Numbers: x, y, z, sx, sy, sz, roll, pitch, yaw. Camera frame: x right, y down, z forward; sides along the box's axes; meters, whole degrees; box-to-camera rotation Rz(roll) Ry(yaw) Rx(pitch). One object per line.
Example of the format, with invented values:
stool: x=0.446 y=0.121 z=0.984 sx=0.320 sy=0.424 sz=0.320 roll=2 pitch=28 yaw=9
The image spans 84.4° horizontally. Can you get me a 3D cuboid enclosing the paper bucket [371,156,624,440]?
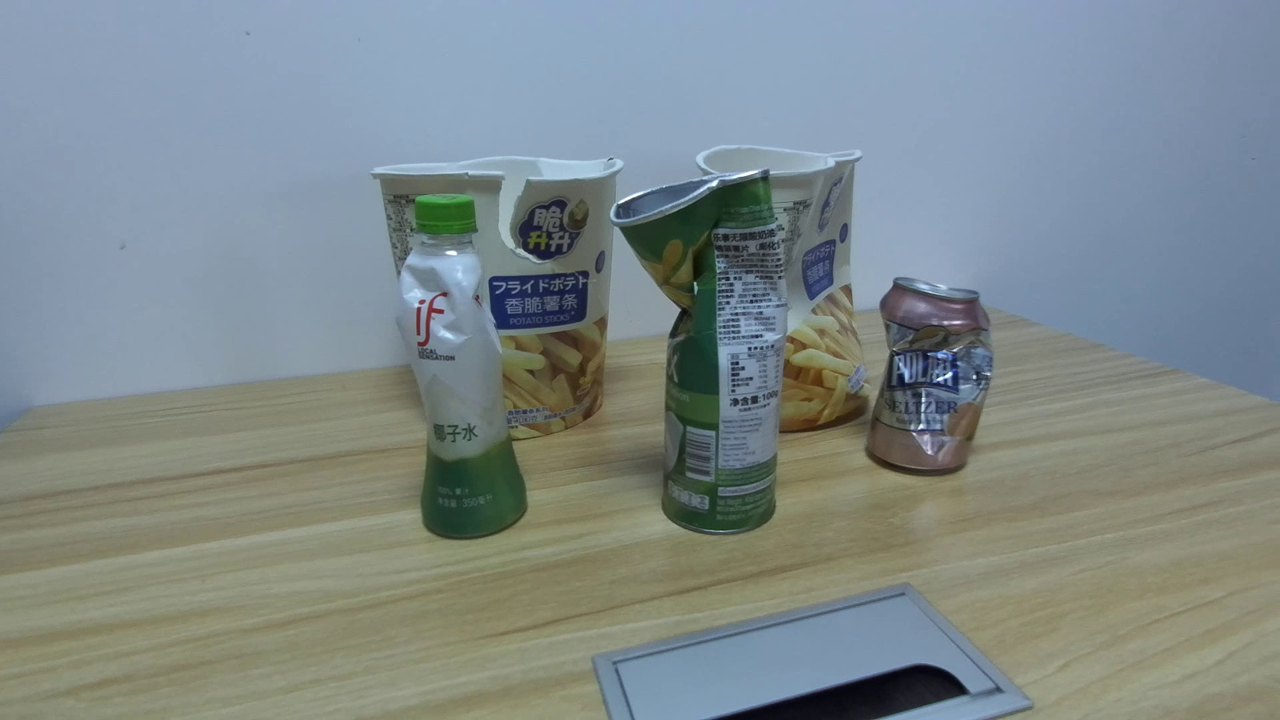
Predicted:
paper bucket: x=-0.103 y=-0.056 z=0.550 sx=0.202 sy=0.197 sz=0.146 roll=8 pitch=23 yaw=25

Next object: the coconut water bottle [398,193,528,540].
coconut water bottle: x=-0.102 y=0.005 z=0.400 sx=0.067 sy=0.187 sz=0.067 roll=-1 pitch=18 yaw=1

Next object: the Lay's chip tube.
Lay's chip tube: x=0.036 y=0.000 z=0.392 sx=0.071 sy=0.199 sz=0.078 roll=-18 pitch=23 yaw=-21

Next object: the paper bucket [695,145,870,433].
paper bucket: x=0.111 y=-0.062 z=0.553 sx=0.147 sy=0.199 sz=0.217 roll=-2 pitch=19 yaw=-1
